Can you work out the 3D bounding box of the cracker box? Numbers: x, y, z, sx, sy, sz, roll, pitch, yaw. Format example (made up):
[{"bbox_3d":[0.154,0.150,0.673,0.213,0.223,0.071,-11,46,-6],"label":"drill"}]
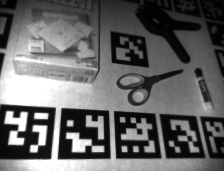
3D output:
[{"bbox_3d":[-0.122,-0.123,0.487,0.165,0.072,0.212,6,64,-15],"label":"cracker box"}]

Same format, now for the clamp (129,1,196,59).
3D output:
[{"bbox_3d":[0.140,-0.183,0.636,0.203,0.036,0.166,32,59,-2],"label":"clamp"}]

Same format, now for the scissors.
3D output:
[{"bbox_3d":[0.099,-0.020,0.538,0.204,0.016,0.087,-23,73,-28],"label":"scissors"}]

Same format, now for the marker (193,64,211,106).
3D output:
[{"bbox_3d":[0.237,-0.005,0.574,0.020,0.019,0.120,2,64,-16],"label":"marker"}]
